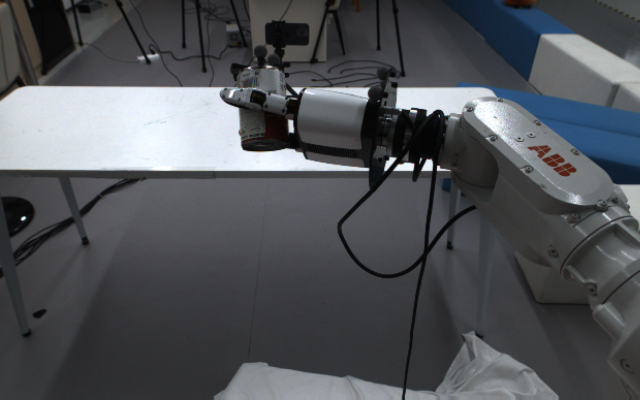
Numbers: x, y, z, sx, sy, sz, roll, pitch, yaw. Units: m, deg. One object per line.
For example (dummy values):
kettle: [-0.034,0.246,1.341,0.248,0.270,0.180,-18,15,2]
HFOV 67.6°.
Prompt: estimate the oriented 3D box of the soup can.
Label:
soup can: [-0.076,-0.121,0.657,0.067,0.101,0.067,-5,-5,0]
